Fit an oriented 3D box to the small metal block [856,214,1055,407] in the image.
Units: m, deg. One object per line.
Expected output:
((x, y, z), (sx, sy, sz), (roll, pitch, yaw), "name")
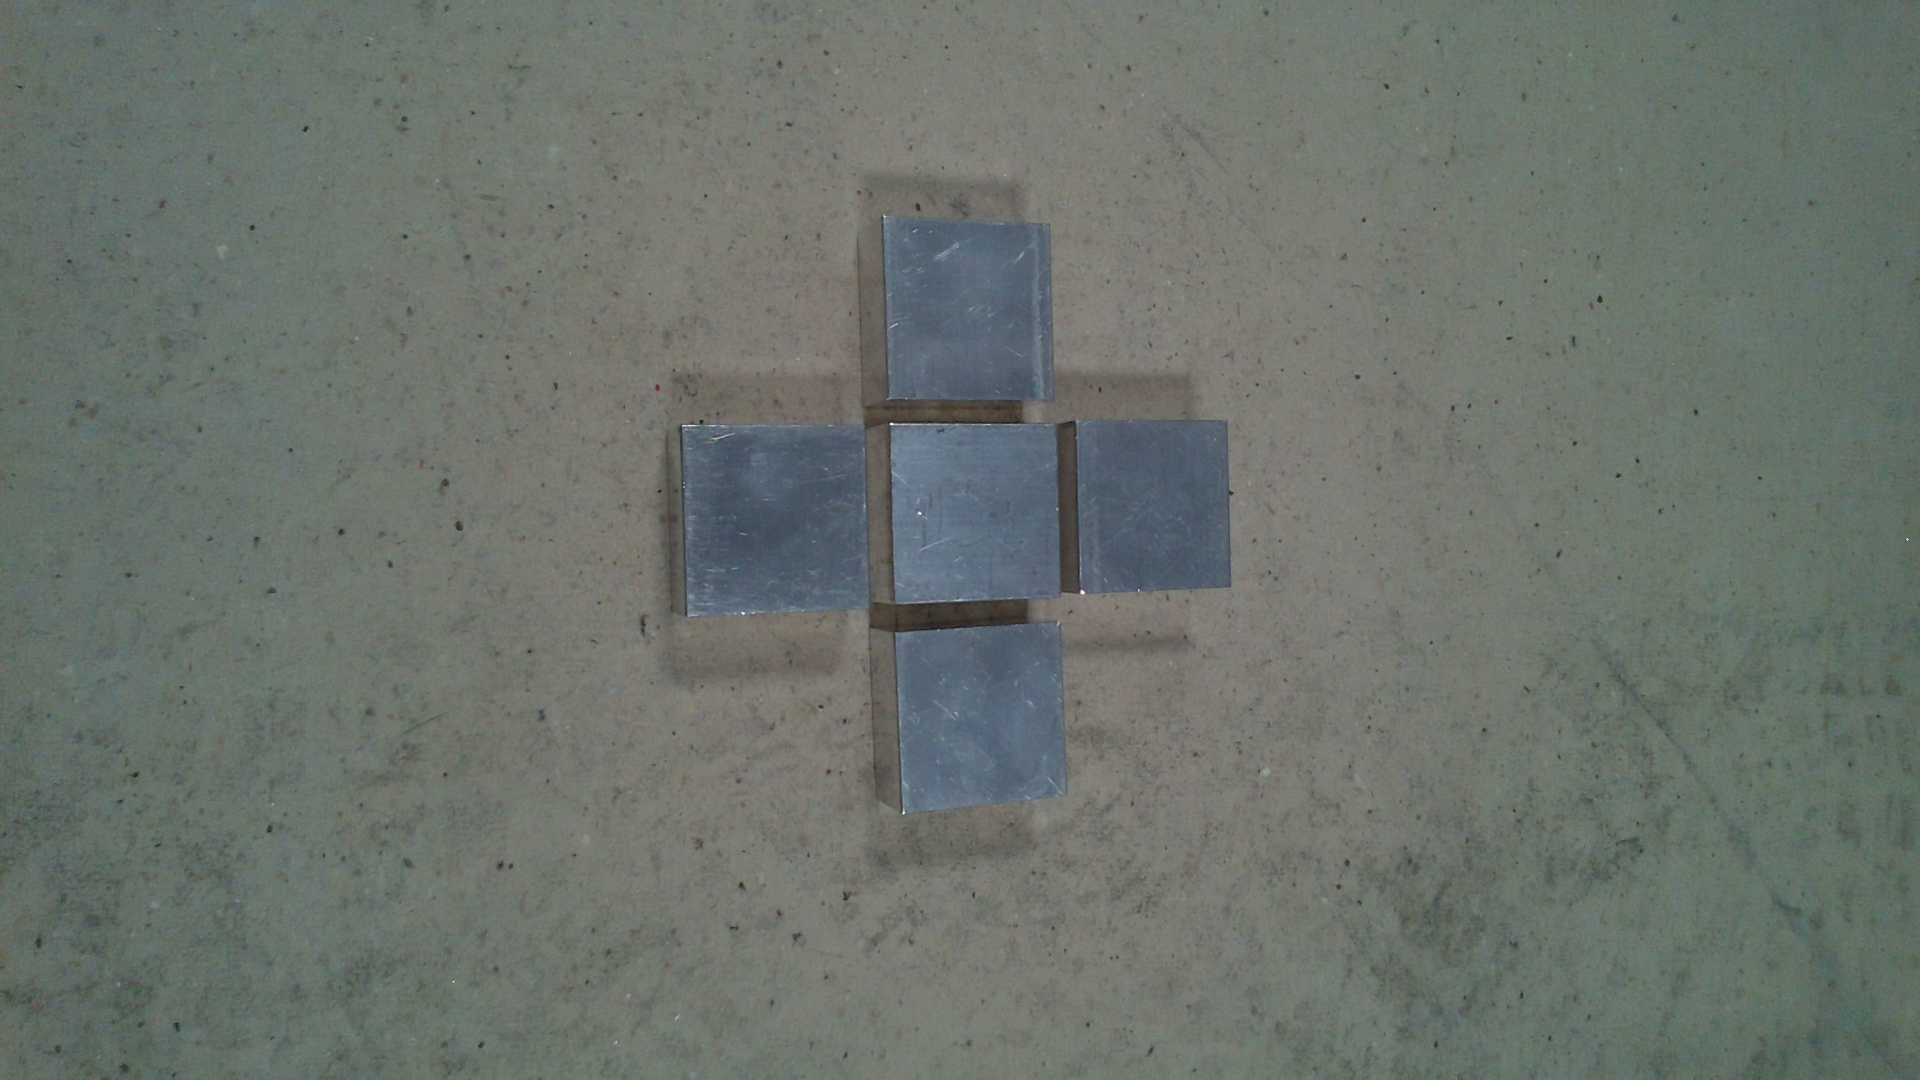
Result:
((-0.001, -0.064, 0.393), (0.050, 0.025, 0.050), (-2, 91, -20), "small metal block")

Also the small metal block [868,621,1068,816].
((0.002, 0.049, 0.395), (0.050, 0.025, 0.050), (-2, 91, -20), "small metal block")

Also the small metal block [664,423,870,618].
((-0.053, -0.006, 0.374), (0.050, 0.025, 0.050), (-2, 91, -20), "small metal block")

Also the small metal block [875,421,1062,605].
((0.000, -0.008, 0.394), (0.050, 0.025, 0.050), (-2, 91, -20), "small metal block")

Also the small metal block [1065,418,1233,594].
((0.053, -0.010, 0.413), (0.050, 0.025, 0.050), (-2, 91, -20), "small metal block")
